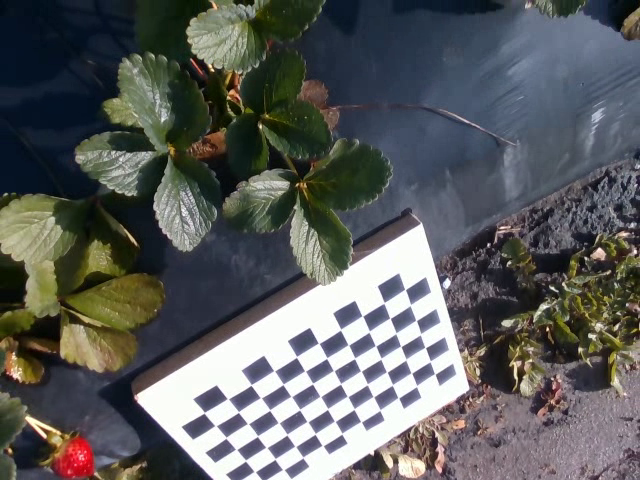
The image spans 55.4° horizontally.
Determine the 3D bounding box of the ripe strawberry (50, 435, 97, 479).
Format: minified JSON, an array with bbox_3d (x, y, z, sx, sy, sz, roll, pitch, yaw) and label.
[{"bbox_3d":[-0.201,0.183,0.499,0.044,0.040,0.037,42,8,-28],"label":"ripe strawberry"}]
